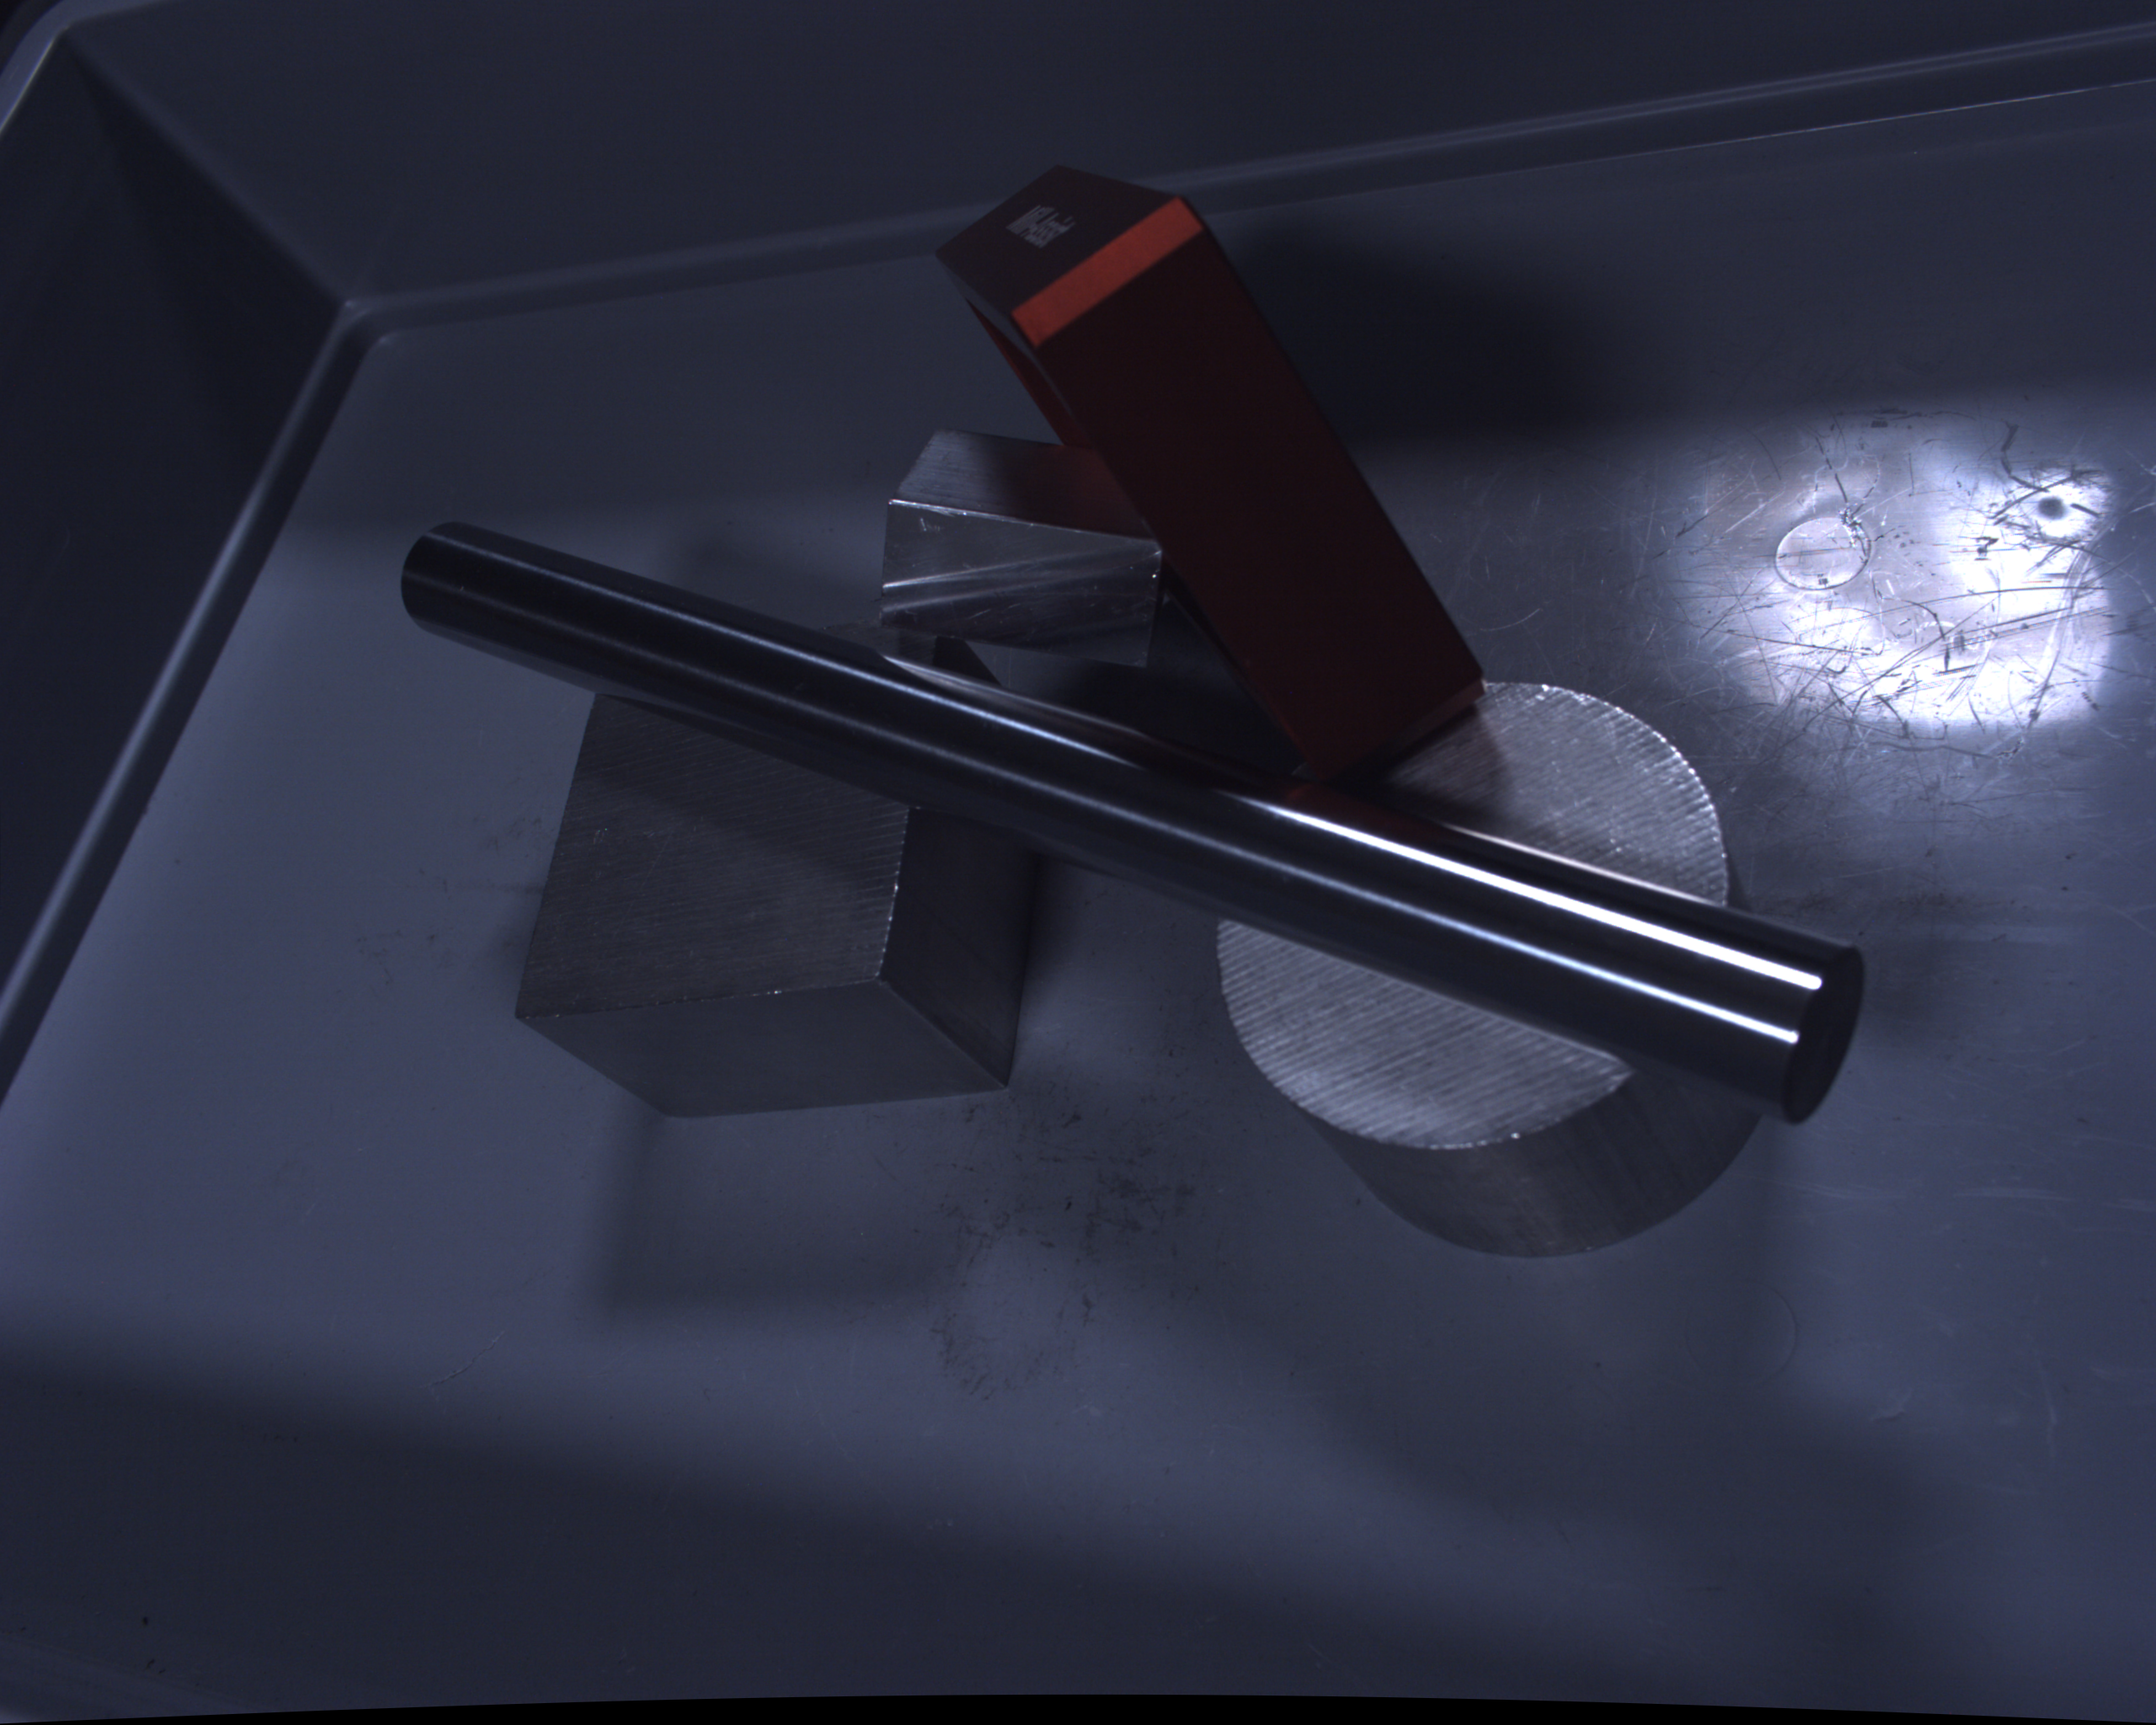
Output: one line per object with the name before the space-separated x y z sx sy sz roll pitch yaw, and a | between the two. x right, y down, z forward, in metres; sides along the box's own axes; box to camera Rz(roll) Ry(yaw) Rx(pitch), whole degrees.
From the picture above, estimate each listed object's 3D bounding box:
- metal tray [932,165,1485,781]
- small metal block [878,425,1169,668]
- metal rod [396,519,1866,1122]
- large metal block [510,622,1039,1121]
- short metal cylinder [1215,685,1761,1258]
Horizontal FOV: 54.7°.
metal tray | 0.018 -0.073 0.365 0.030 0.090 0.130 -35 22 4
small metal block | -0.008 -0.062 0.401 0.050 0.025 0.050 9 27 3
metal rod | -0.018 -0.019 0.358 0.300 0.025 0.025 20 72 35
large metal block | -0.056 0.002 0.415 0.080 0.050 0.080 -7 59 24
short metal cylinder | 0.069 0.018 0.340 0.080 0.050 0.080 -13 56 20
